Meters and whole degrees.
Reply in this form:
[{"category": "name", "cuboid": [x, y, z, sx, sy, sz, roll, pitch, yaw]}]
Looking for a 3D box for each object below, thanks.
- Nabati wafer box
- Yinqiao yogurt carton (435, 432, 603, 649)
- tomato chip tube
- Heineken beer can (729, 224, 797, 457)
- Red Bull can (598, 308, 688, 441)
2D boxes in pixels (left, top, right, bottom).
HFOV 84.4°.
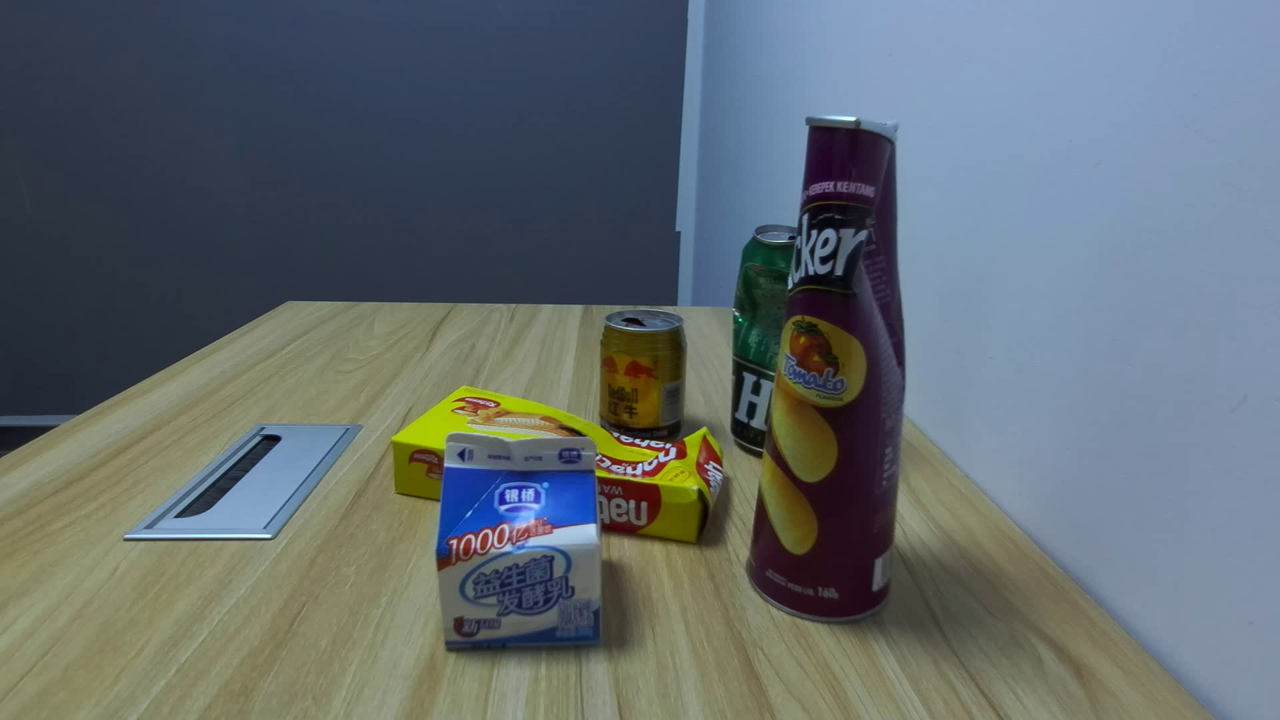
[{"category": "Nabati wafer box", "cuboid": [-0.047, 0.064, 0.469, 0.204, 0.042, 0.107, 8, 20, 14]}, {"category": "Yinqiao yogurt carton", "cuboid": [-0.056, 0.078, 0.345, 0.076, 0.092, 0.073, 1, 19, -6]}, {"category": "tomato chip tube", "cuboid": [0.102, 0.009, 0.350, 0.078, 0.235, 0.076, -3, 16, -19]}, {"category": "Heineken beer can", "cuboid": [0.104, -0.011, 0.515, 0.066, 0.164, 0.077, 3, 11, 4]}, {"category": "Red Bull can", "cuboid": [0.002, 0.014, 0.545, 0.067, 0.093, 0.067, 0, 18, 0]}]
